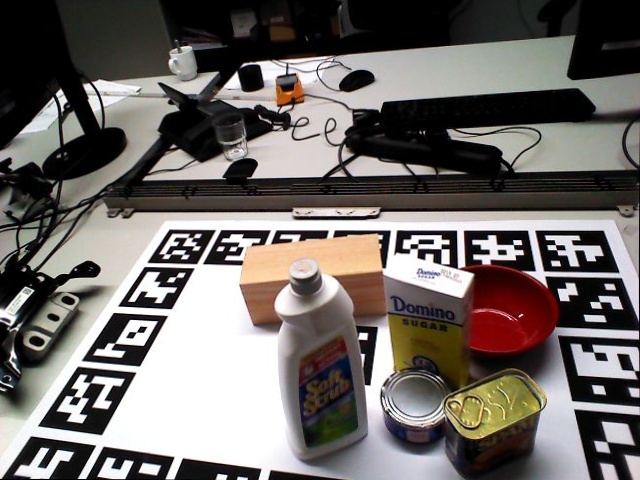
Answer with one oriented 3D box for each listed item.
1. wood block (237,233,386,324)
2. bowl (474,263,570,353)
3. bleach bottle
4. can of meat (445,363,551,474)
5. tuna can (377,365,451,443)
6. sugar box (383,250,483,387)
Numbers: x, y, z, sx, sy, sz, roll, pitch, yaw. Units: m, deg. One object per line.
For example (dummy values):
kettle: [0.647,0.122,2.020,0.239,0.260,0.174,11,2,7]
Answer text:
wood block: [-0.009,0.057,0.770,0.207,0.090,0.090,-6,41,7]
bowl: [0.237,0.094,0.679,0.162,0.055,0.161,-11,35,7]
bleach bottle: [-0.007,0.123,0.545,0.102,0.251,0.068,-16,36,-6]
can of meat: [0.187,0.191,0.549,0.102,0.084,0.058,-18,34,-11]
tuna can: [0.111,0.190,0.601,0.086,0.034,0.085,-8,40,7]
sugar box: [0.134,0.096,0.599,0.093,0.177,0.045,12,45,33]
